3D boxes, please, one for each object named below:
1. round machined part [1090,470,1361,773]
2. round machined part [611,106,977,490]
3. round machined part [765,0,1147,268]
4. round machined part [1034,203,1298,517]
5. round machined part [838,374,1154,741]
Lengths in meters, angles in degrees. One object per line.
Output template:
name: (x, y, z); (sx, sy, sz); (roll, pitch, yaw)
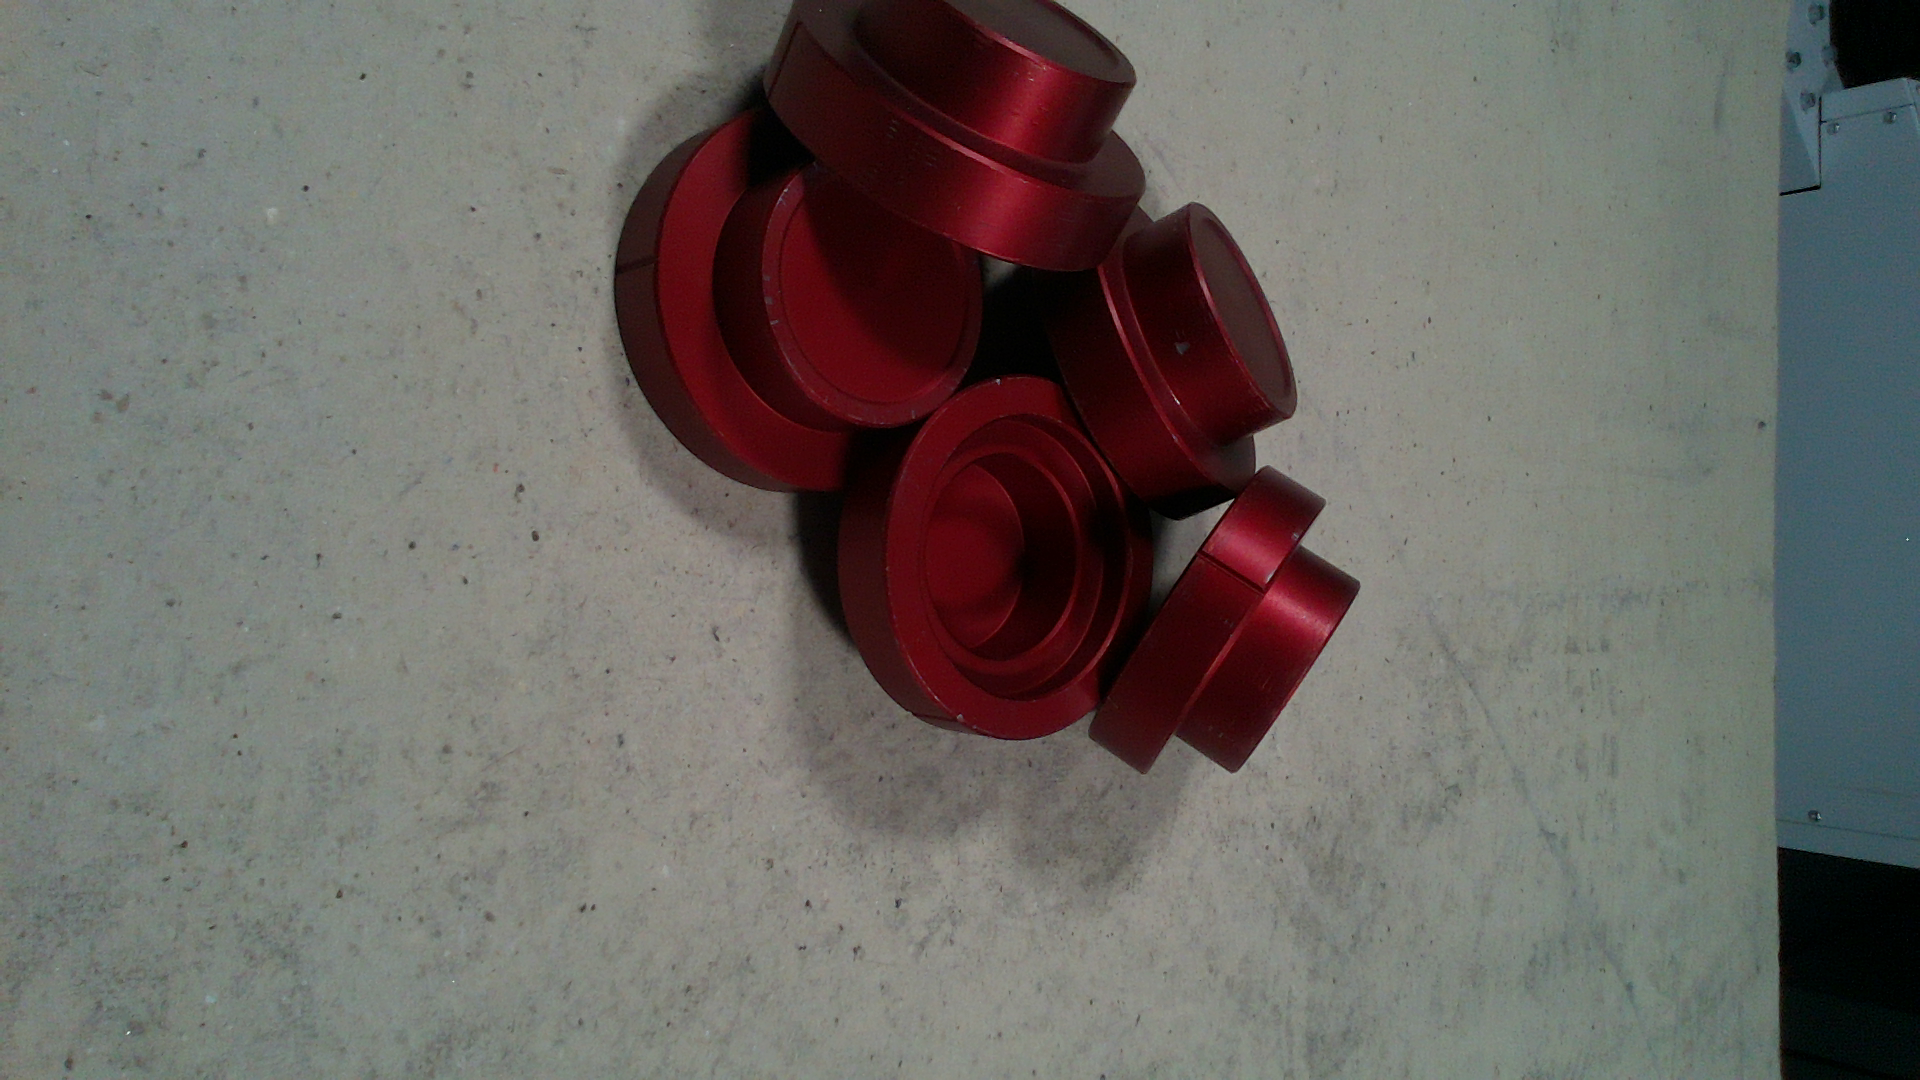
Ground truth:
round machined part: (0.083, 0.030, 0.411); (0.042, 0.098, 0.098); (34, 62, 10)
round machined part: (-0.034, -0.062, 0.351); (0.098, 0.042, 0.098); (0, 90, -40)
round machined part: (0.005, -0.113, 0.344); (0.098, 0.098, 0.042); (1, 131, -40)
round machined part: (0.065, -0.059, 0.404); (0.098, 0.042, 0.098); (43, 33, -38)
round machined part: (0.006, 0.005, 0.383); (0.098, 0.042, 0.098); (0, 90, -40)
